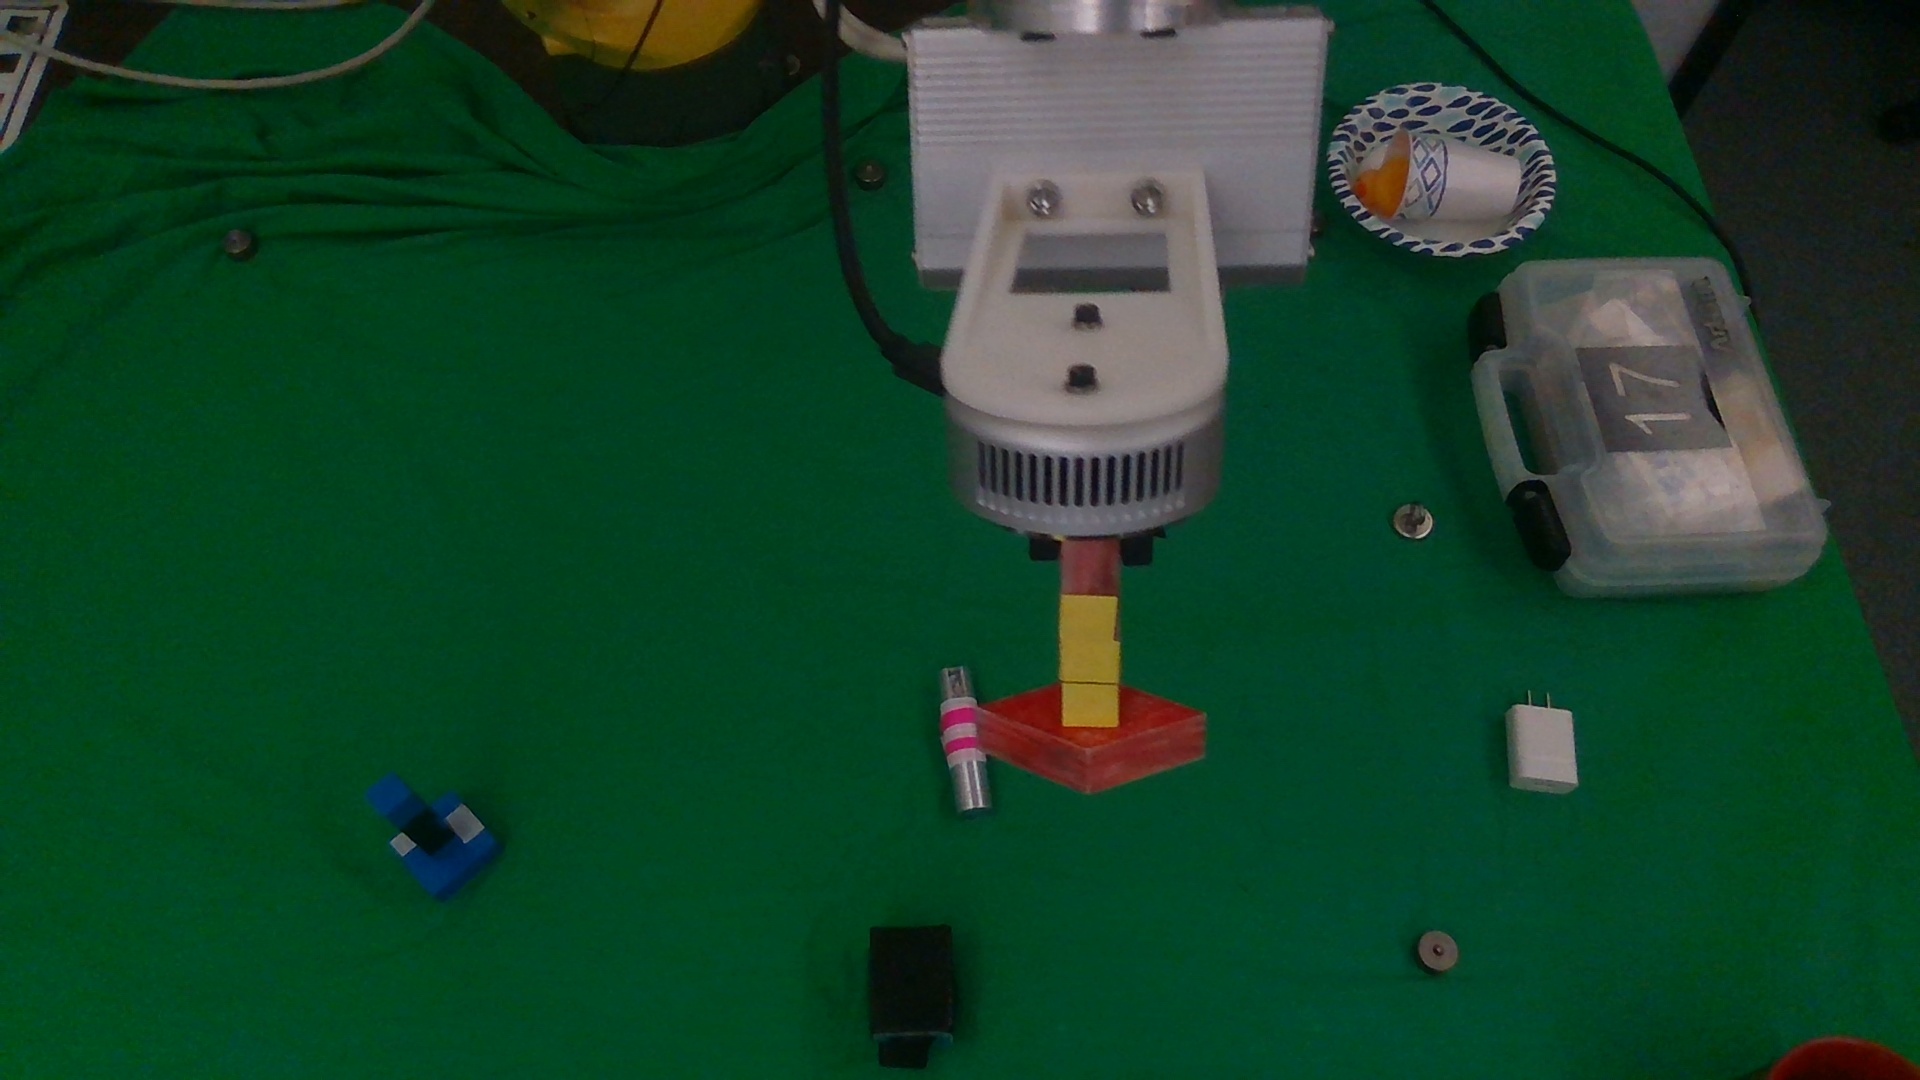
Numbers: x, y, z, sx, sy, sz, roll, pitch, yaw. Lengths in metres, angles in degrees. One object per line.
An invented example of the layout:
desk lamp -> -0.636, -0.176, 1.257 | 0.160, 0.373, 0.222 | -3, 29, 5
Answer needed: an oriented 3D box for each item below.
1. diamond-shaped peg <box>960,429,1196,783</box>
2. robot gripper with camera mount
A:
diamond-shaped peg -> 0.040, 0.022, 0.480 | 0.074, 0.122, 0.045 | -10, 26, -17
robot gripper with camera mount -> 0.034, -0.036, 0.364 | 0.119, 0.158, 0.193 | -1, 29, 2
